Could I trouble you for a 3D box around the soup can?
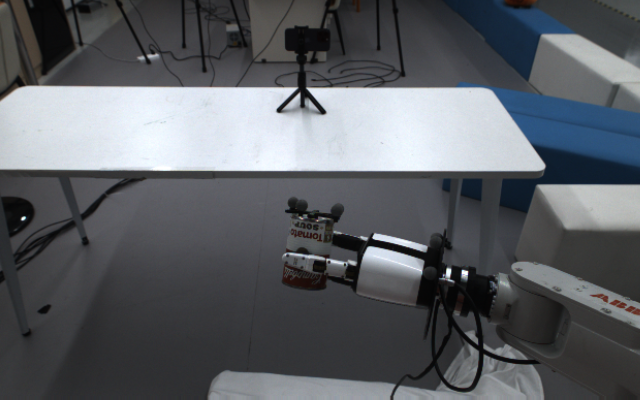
[{"bbox_3d":[-0.015,0.075,0.712,0.067,0.101,0.067,7,4,0],"label":"soup can"}]
